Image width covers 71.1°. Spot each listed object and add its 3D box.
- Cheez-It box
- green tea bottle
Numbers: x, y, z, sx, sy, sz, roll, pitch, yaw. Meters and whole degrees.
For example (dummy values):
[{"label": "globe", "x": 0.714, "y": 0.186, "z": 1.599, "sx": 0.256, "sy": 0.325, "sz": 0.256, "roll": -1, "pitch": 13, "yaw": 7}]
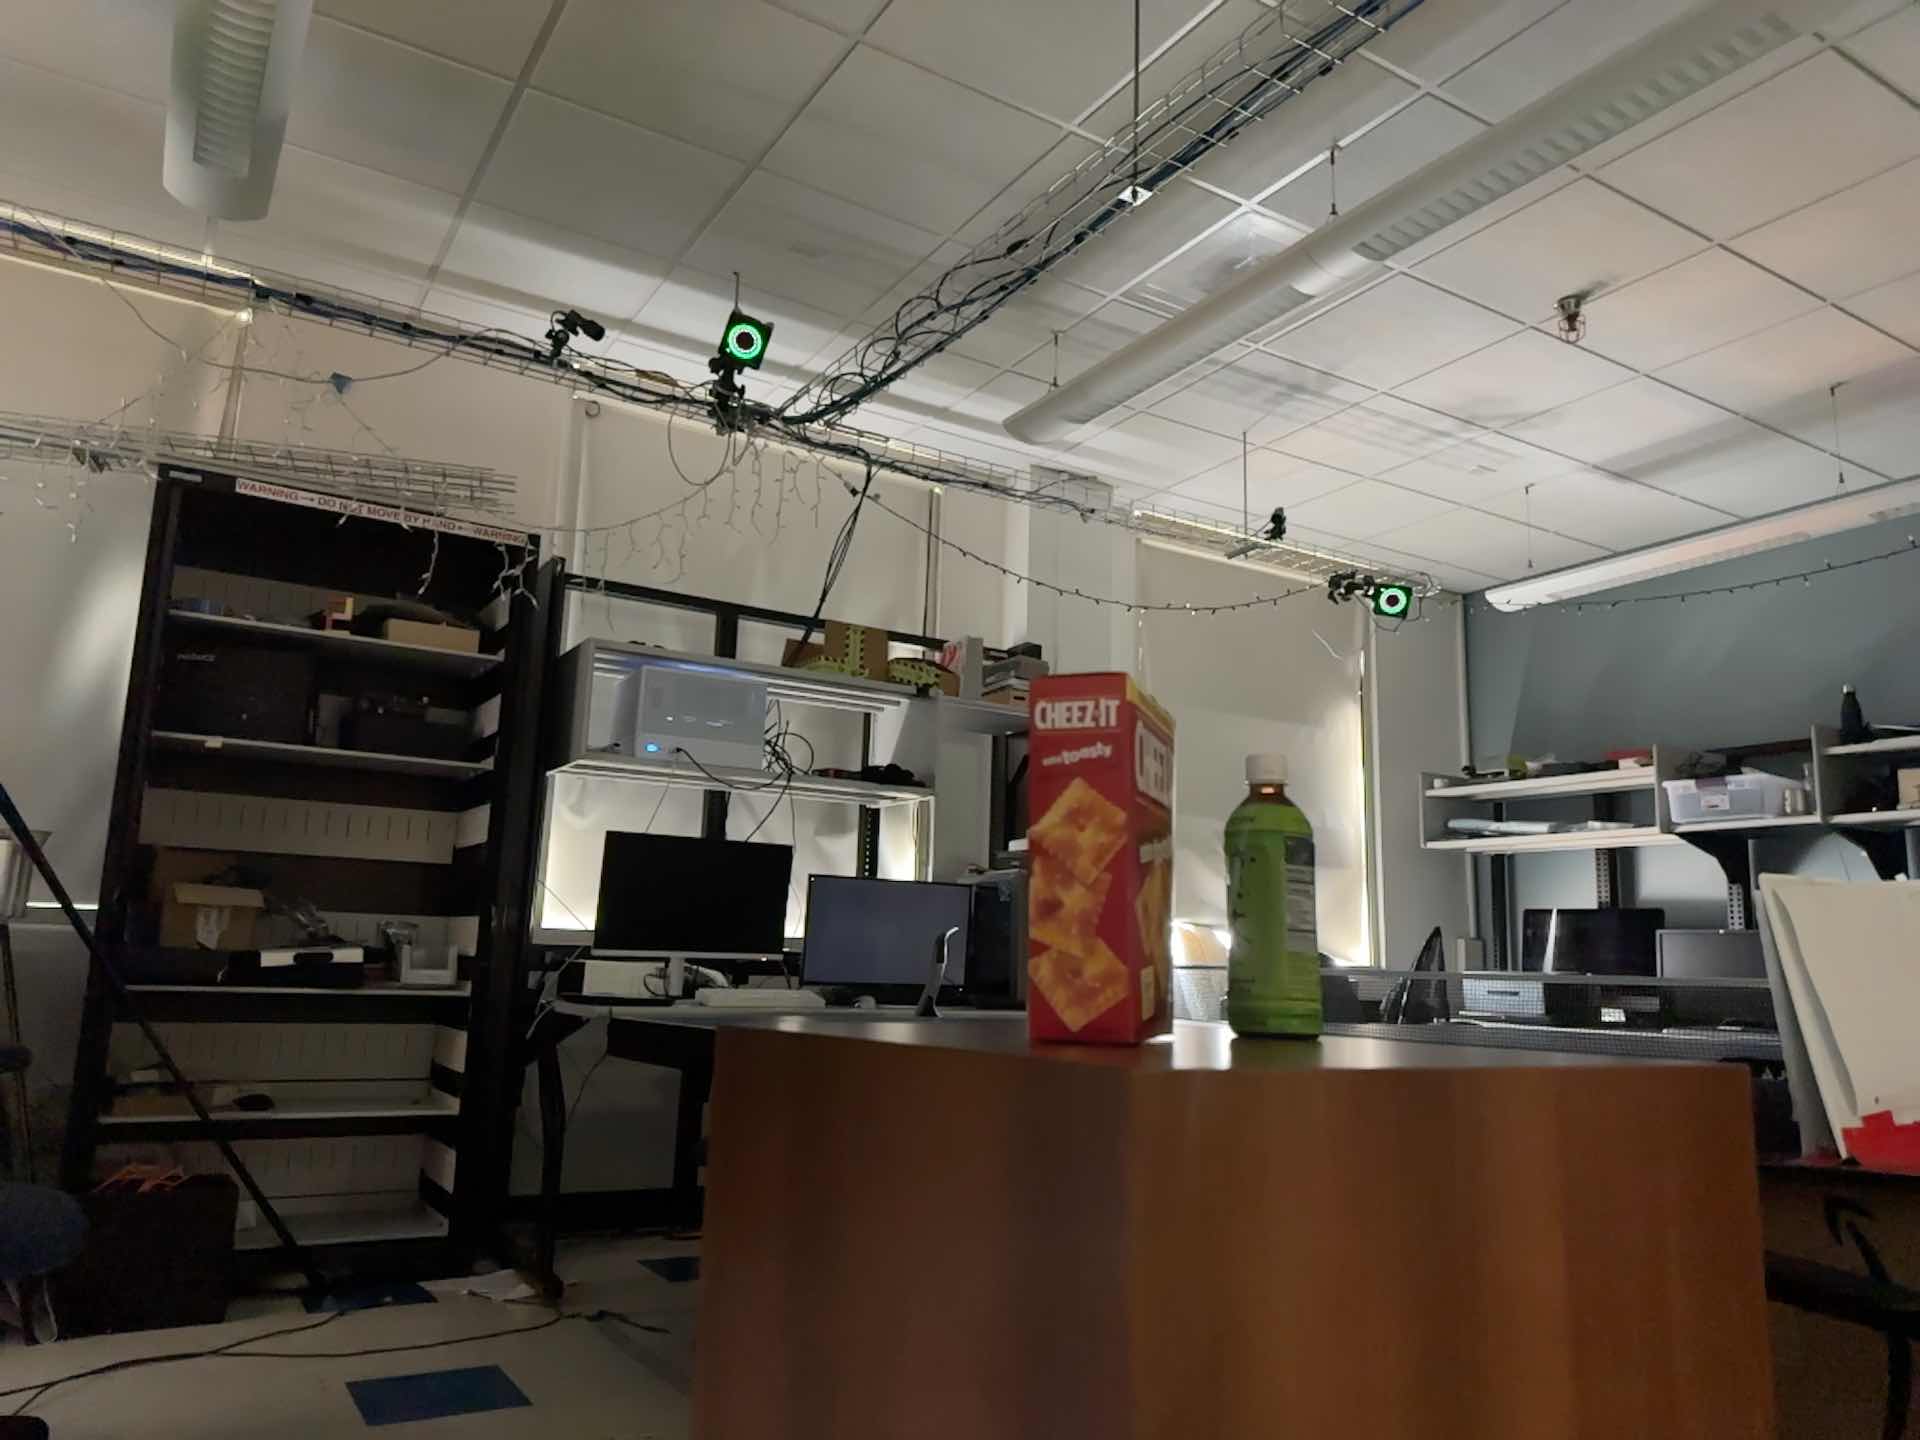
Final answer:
[{"label": "Cheez-It box", "x": 0.090, "y": 0.087, "z": 0.839, "sx": 0.062, "sy": 0.214, "sz": 0.159, "roll": -1, "pitch": -9, "yaw": 16}, {"label": "green tea bottle", "x": 0.228, "y": 0.124, "z": 0.994, "sx": 0.073, "sy": 0.212, "sz": 0.073, "roll": 2, "pitch": -10, "yaw": 0}]
